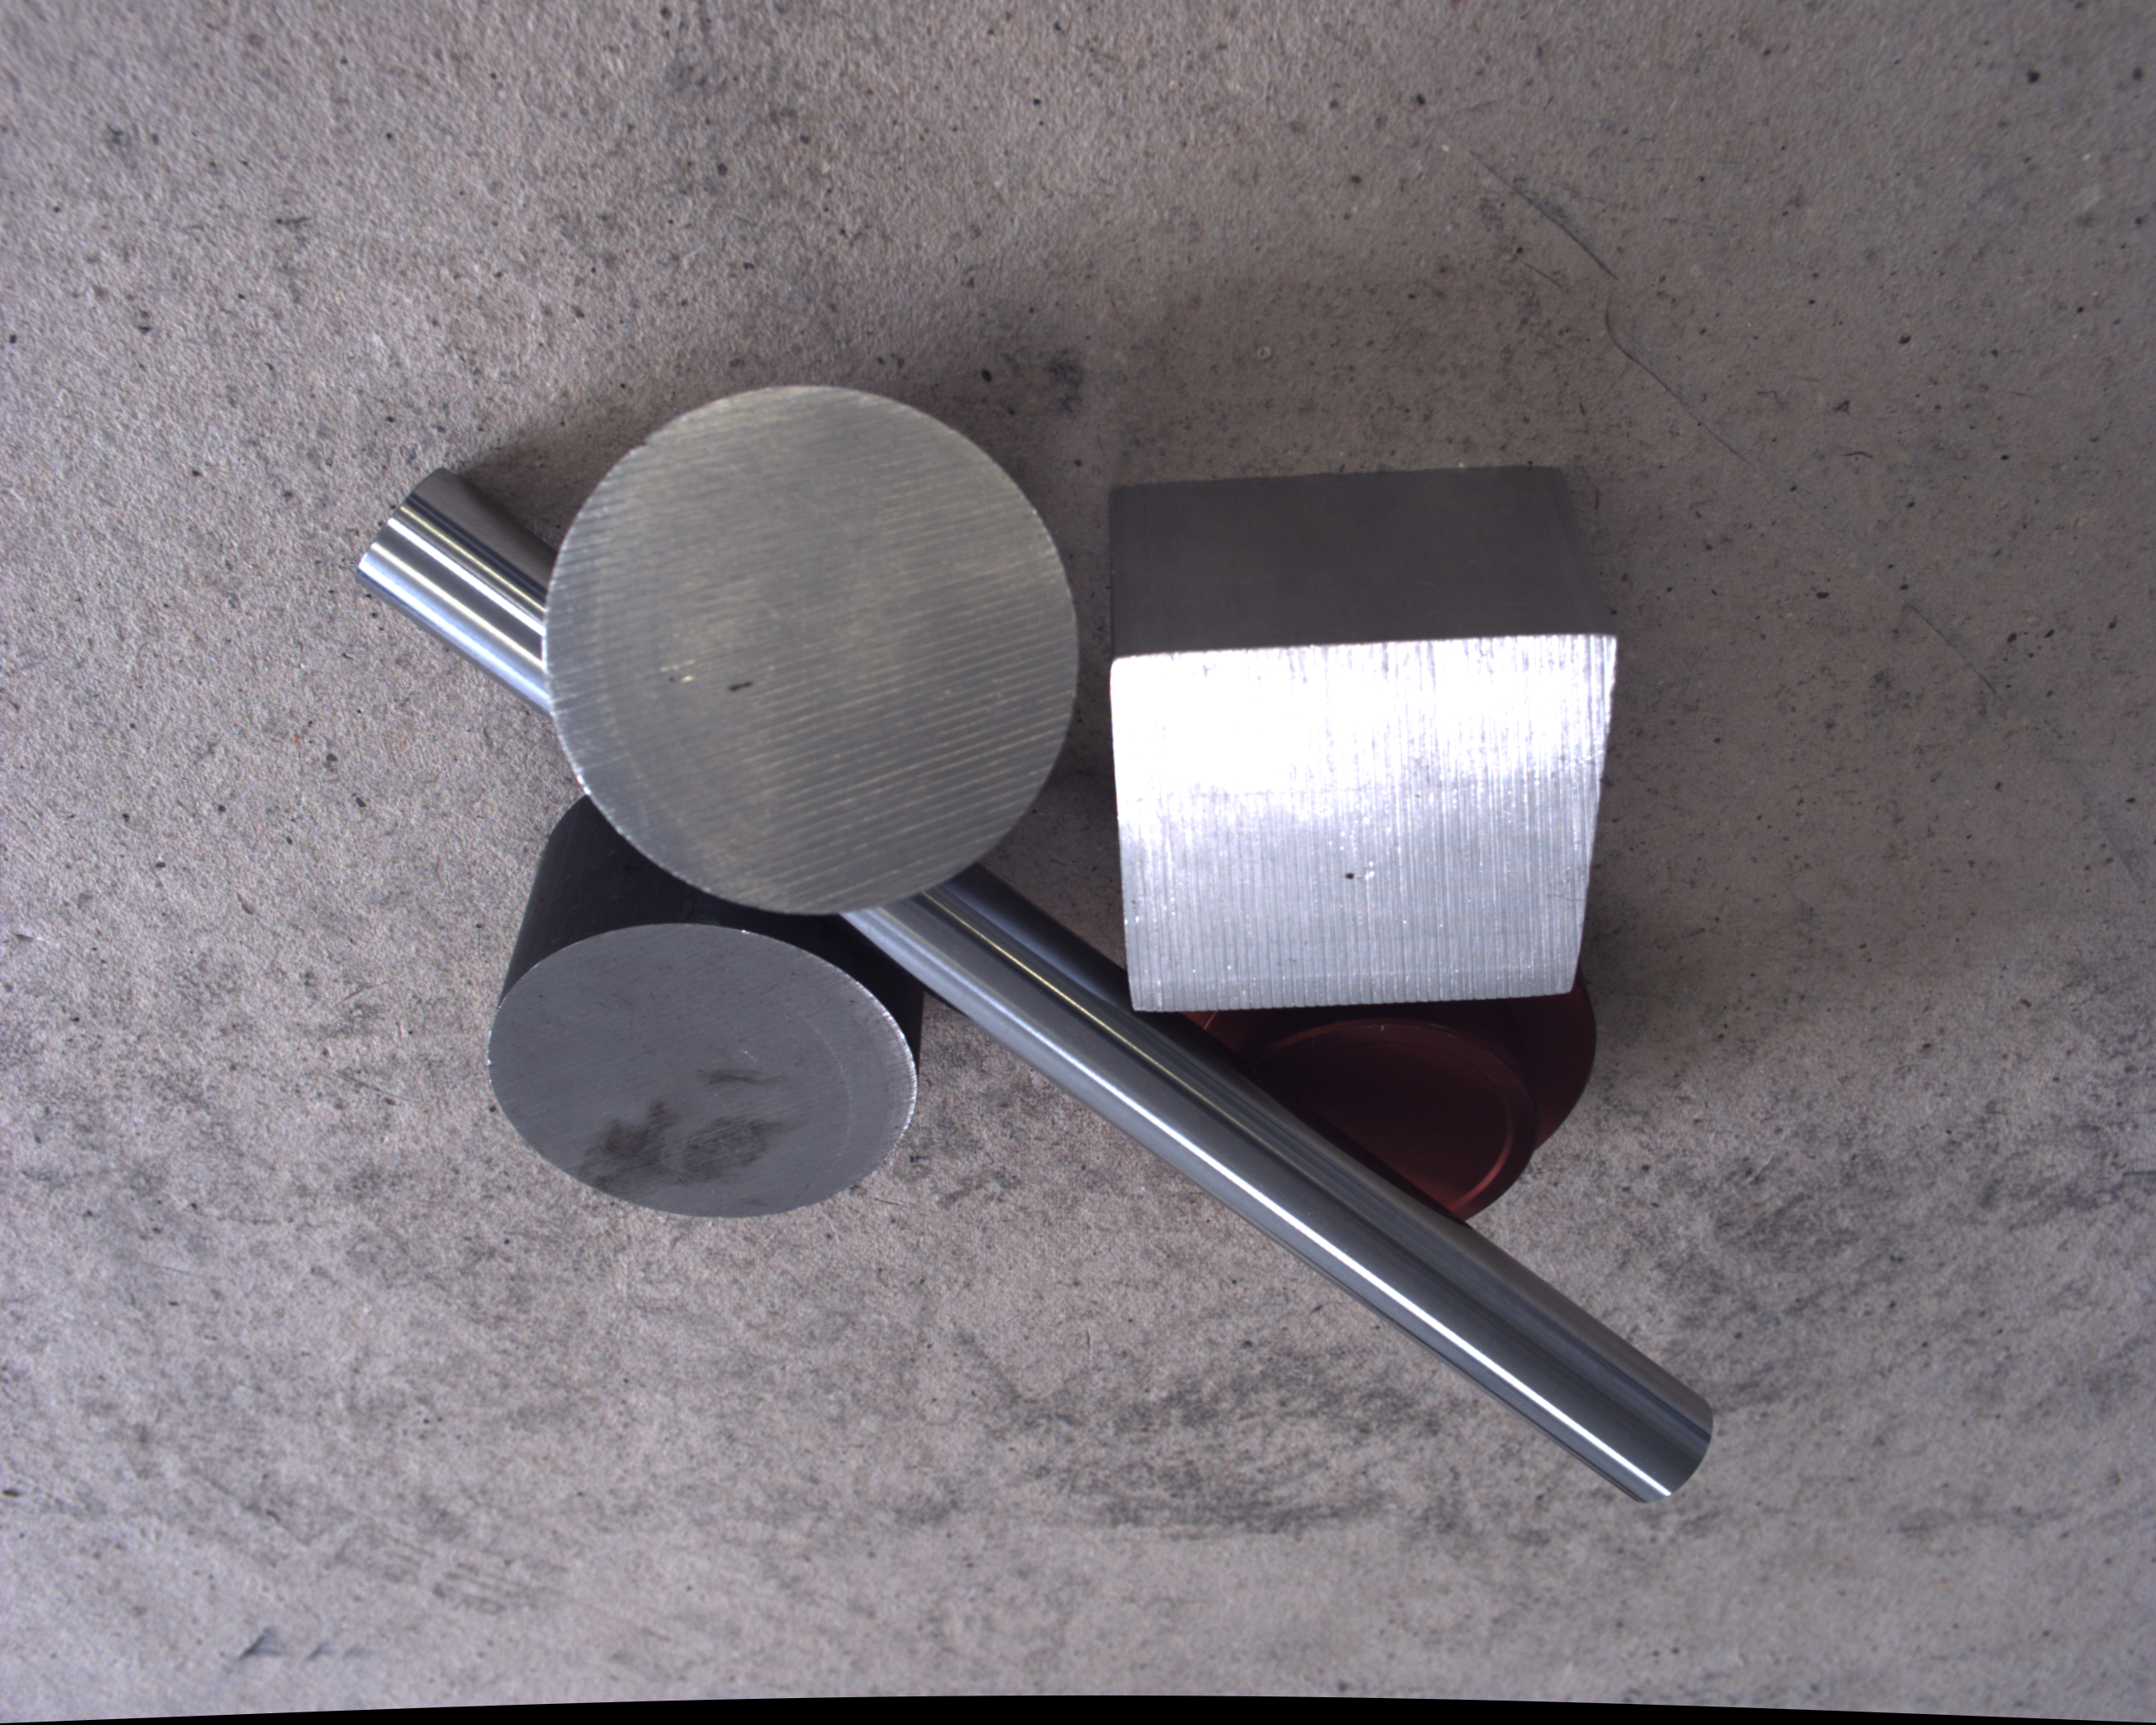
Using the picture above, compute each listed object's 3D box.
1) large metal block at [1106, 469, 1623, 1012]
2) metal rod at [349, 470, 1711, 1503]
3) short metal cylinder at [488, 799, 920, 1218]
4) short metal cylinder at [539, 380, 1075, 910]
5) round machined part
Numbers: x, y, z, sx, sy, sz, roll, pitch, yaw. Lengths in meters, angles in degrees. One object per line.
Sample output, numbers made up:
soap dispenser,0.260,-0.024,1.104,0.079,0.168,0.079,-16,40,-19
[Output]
large metal block,0.047,-0.021,0.372,0.080,0.050,0.079,-3,130,2
metal rod,0.000,0.030,0.390,0.301,0.025,0.025,37,122,-12
short metal cylinder,-0.071,0.025,0.414,0.081,0.050,0.079,0,130,0
short metal cylinder,-0.045,-0.034,0.338,0.081,0.050,0.079,-1,92,-14
round machined part,0.058,0.044,0.434,0.099,0.042,0.097,0,130,0
